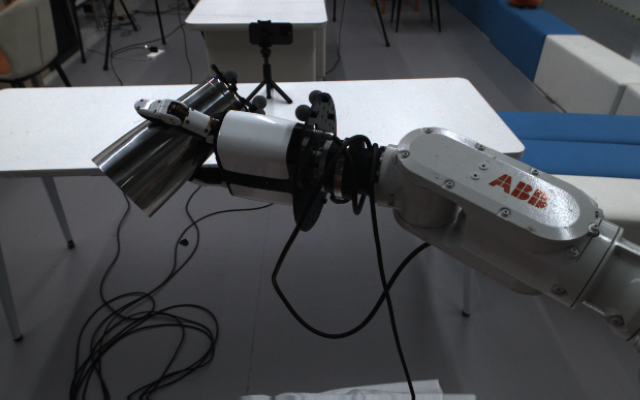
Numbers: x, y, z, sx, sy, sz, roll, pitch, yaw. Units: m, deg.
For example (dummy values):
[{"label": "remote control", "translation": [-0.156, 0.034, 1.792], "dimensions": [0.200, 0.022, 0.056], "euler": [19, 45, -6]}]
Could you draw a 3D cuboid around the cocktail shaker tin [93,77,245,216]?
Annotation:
[{"label": "cocktail shaker tin", "translation": [-0.173, -0.073, 0.583], "dimensions": [0.170, 0.093, 0.093], "euler": [-43, 50, -14]}]
